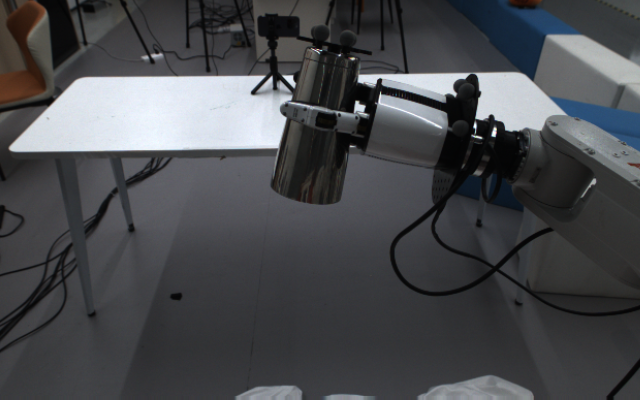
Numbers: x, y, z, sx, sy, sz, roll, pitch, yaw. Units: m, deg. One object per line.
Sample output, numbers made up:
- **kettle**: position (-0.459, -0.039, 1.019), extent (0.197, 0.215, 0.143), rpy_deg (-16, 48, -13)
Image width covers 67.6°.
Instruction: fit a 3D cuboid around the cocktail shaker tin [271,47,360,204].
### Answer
- **cocktail shaker tin**: position (0.000, -0.091, 0.585), extent (0.093, 0.170, 0.093), rpy_deg (11, 19, -4)
